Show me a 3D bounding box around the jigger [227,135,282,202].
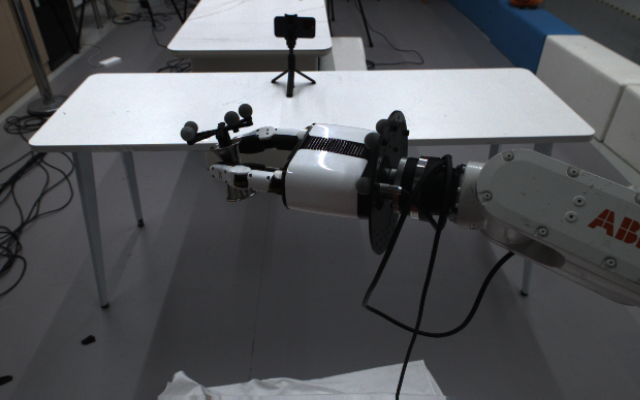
[{"bbox_3d":[-0.104,-0.037,0.598,0.043,0.071,0.043,-14,21,6],"label":"jigger"}]
